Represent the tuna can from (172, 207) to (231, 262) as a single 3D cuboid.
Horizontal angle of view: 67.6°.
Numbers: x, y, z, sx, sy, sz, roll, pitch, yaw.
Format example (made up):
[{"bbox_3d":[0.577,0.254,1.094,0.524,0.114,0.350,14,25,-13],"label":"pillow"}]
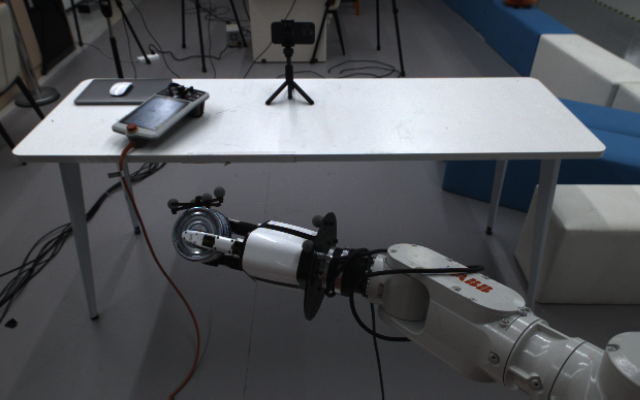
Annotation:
[{"bbox_3d":[-0.181,0.054,0.744,0.085,0.085,0.034,12,-6,14],"label":"tuna can"}]
